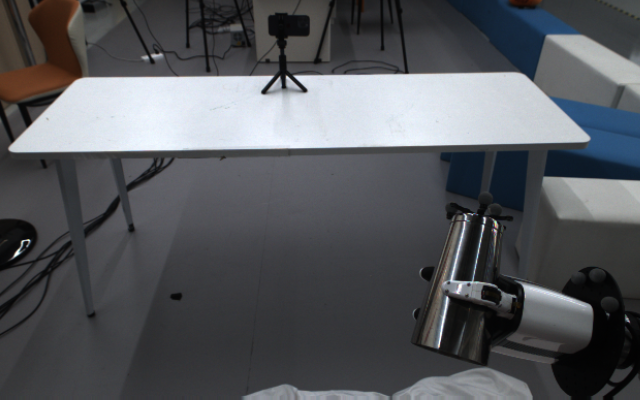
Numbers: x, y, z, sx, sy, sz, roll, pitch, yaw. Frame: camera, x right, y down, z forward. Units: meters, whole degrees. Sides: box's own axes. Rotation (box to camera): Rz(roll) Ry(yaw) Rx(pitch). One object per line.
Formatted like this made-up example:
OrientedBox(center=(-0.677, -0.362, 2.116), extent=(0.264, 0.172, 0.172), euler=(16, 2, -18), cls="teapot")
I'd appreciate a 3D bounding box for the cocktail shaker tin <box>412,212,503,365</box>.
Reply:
OrientedBox(center=(0.177, 0.106, 0.601), extent=(0.093, 0.093, 0.170), euler=(14, 73, 17), cls="cocktail shaker tin")
